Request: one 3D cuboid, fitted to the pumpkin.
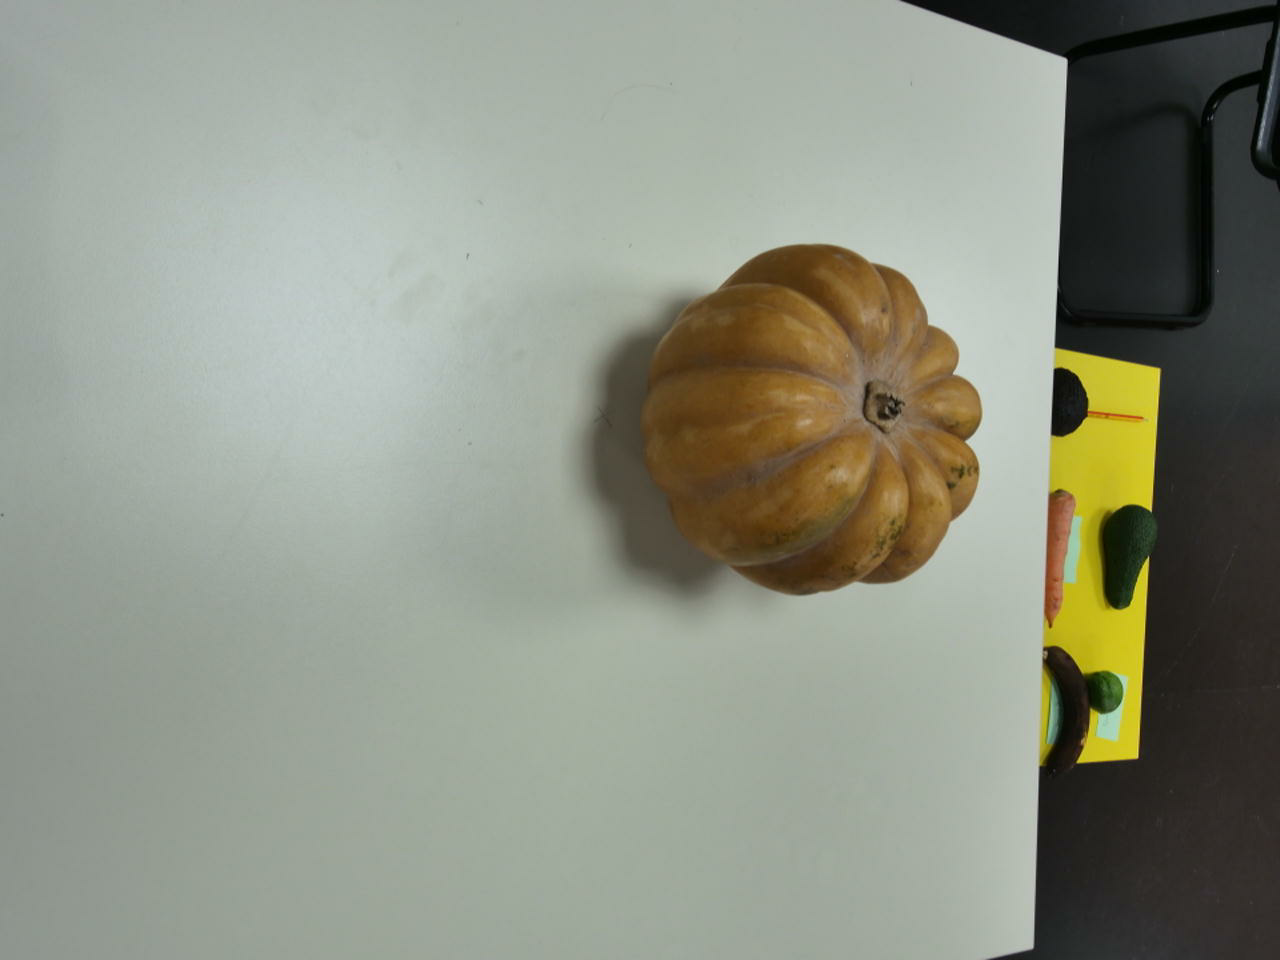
[{"bbox_3d":[0.109,-0.035,0.661,0.230,0.194,0.230,0,91,-28],"label":"pumpkin"}]
